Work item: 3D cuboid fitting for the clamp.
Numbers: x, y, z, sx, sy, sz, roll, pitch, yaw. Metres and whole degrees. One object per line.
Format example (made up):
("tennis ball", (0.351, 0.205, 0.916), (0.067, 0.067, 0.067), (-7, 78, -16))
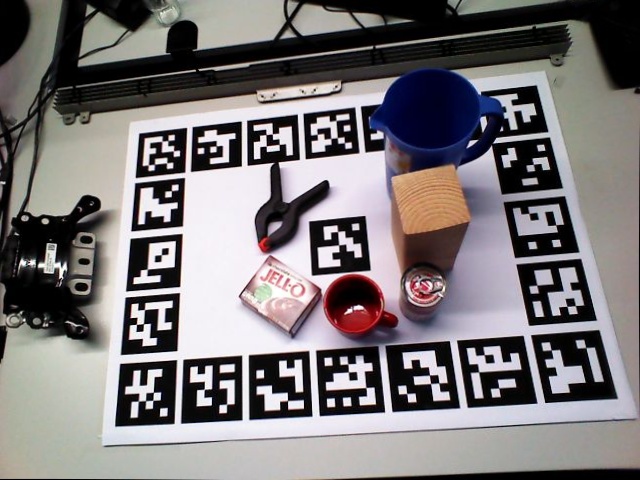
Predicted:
("clamp", (-0.053, -0.056, 0.917), (0.122, 0.036, 0.164), (25, 75, 9))

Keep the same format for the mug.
("mug", (0.070, 0.116, 0.799), (0.117, 0.081, 0.093), (30, 73, 19))

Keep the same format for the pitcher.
("pitcher", (0.185, -0.137, 0.794), (0.189, 0.243, 0.132), (-6, 66, 9))

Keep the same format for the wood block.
("wood block", (0.167, -0.017, 0.767), (0.090, 0.207, 0.090), (-6, 68, 2))

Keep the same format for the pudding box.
("pudding box", (-0.069, 0.093, 0.855), (0.114, 0.038, 0.090), (32, 80, 19))

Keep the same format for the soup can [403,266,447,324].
("soup can", (0.160, 0.086, 0.784), (0.068, 0.102, 0.067), (-3, 71, 7))
